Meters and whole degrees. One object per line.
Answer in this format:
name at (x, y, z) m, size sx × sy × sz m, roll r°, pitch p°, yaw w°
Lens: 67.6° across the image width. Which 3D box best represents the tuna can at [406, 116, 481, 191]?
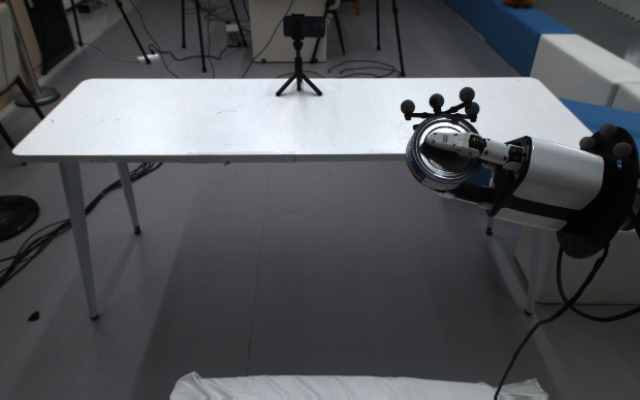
tuna can at (0.147, -0.058, 0.572) m, size 0.085 × 0.034 × 0.085 m, roll 1°, pitch 71°, yaw -4°
